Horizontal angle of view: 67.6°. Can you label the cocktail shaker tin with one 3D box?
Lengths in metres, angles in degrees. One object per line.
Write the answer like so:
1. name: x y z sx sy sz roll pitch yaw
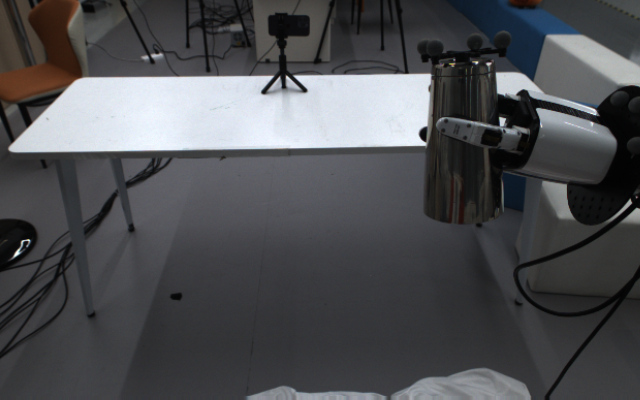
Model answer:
1. cocktail shaker tin: 0.162 -0.070 0.548 0.093 0.170 0.093 -6 20 2
